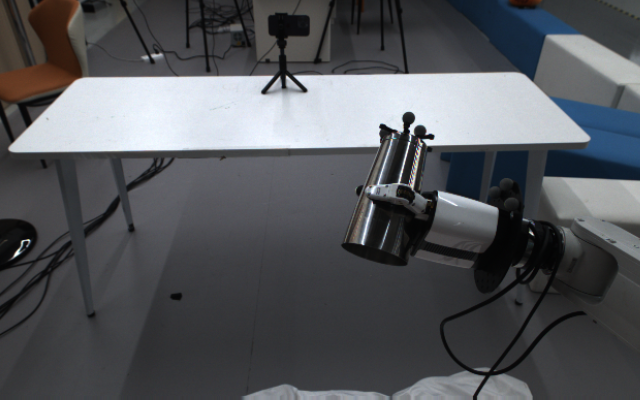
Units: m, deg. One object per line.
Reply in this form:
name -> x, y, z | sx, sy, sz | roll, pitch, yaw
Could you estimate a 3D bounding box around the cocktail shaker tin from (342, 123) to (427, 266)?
cocktail shaker tin -> 0.097, -0.004, 0.671 | 0.093, 0.093, 0.170 | 14, 74, 16
